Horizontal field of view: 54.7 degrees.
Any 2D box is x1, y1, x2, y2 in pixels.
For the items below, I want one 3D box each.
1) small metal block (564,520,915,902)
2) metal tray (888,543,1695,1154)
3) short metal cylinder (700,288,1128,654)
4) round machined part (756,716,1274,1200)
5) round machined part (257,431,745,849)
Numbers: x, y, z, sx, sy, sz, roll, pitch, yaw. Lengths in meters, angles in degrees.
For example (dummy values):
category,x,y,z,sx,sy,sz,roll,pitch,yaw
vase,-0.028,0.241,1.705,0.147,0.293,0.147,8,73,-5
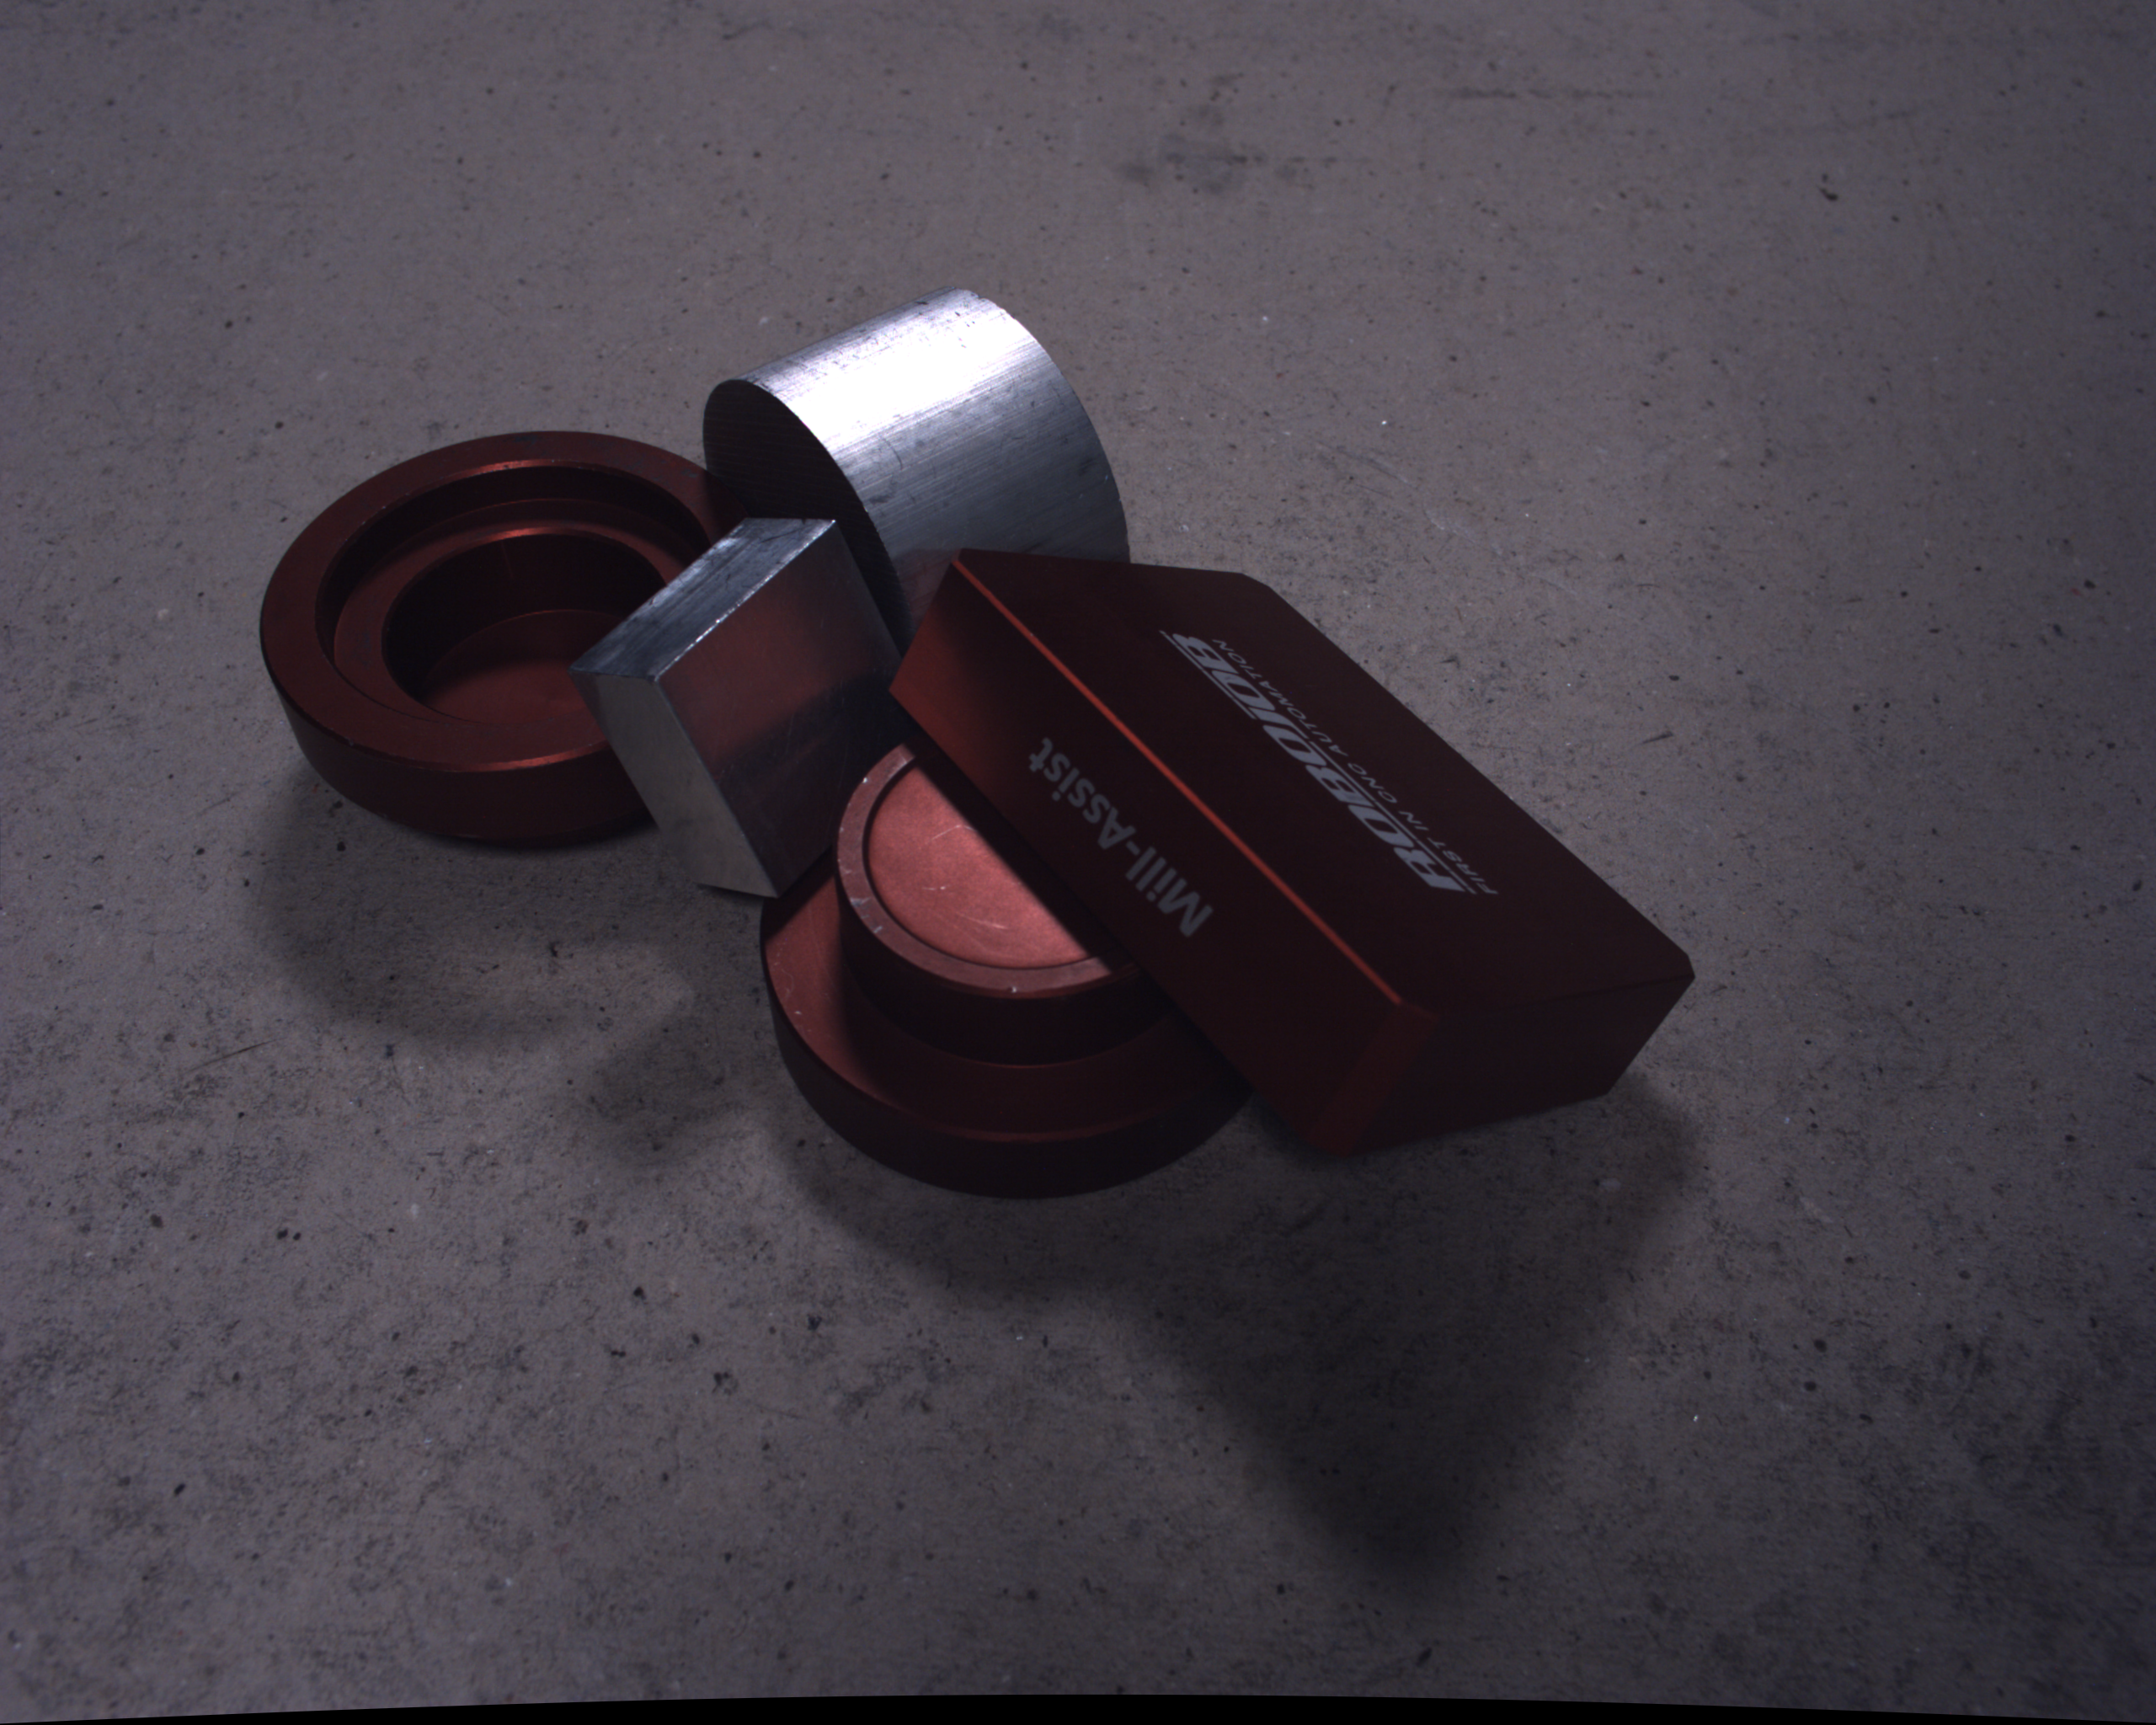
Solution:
category,x,y,z,sx,sy,sz,roll,pitch,yaw
small metal block,-0.059,-0.029,0.389,0.025,0.050,0.050,9,45,39
metal tray,0.037,-0.008,0.380,0.091,0.030,0.130,-4,41,-46
short metal cylinder,-0.034,-0.071,0.429,0.050,0.080,0.080,-31,57,-23
round machined part,-0.010,0.010,0.385,0.099,0.042,0.098,0,50,0
round machined part,-0.111,-0.041,0.427,0.099,0.042,0.098,0,50,0
